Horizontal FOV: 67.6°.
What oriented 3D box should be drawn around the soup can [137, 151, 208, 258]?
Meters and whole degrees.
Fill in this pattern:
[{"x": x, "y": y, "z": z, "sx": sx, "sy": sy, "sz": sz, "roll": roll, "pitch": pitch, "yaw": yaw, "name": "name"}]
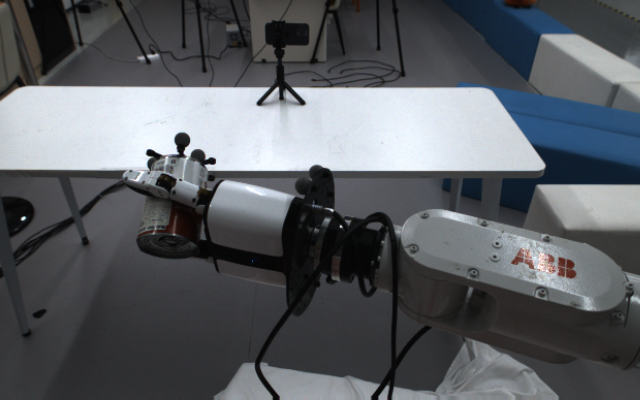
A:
[{"x": -0.164, "y": 0.008, "z": 0.552, "sx": 0.067, "sy": 0.067, "sz": 0.101, "roll": 0, "pitch": 61, "yaw": -3, "name": "soup can"}]
